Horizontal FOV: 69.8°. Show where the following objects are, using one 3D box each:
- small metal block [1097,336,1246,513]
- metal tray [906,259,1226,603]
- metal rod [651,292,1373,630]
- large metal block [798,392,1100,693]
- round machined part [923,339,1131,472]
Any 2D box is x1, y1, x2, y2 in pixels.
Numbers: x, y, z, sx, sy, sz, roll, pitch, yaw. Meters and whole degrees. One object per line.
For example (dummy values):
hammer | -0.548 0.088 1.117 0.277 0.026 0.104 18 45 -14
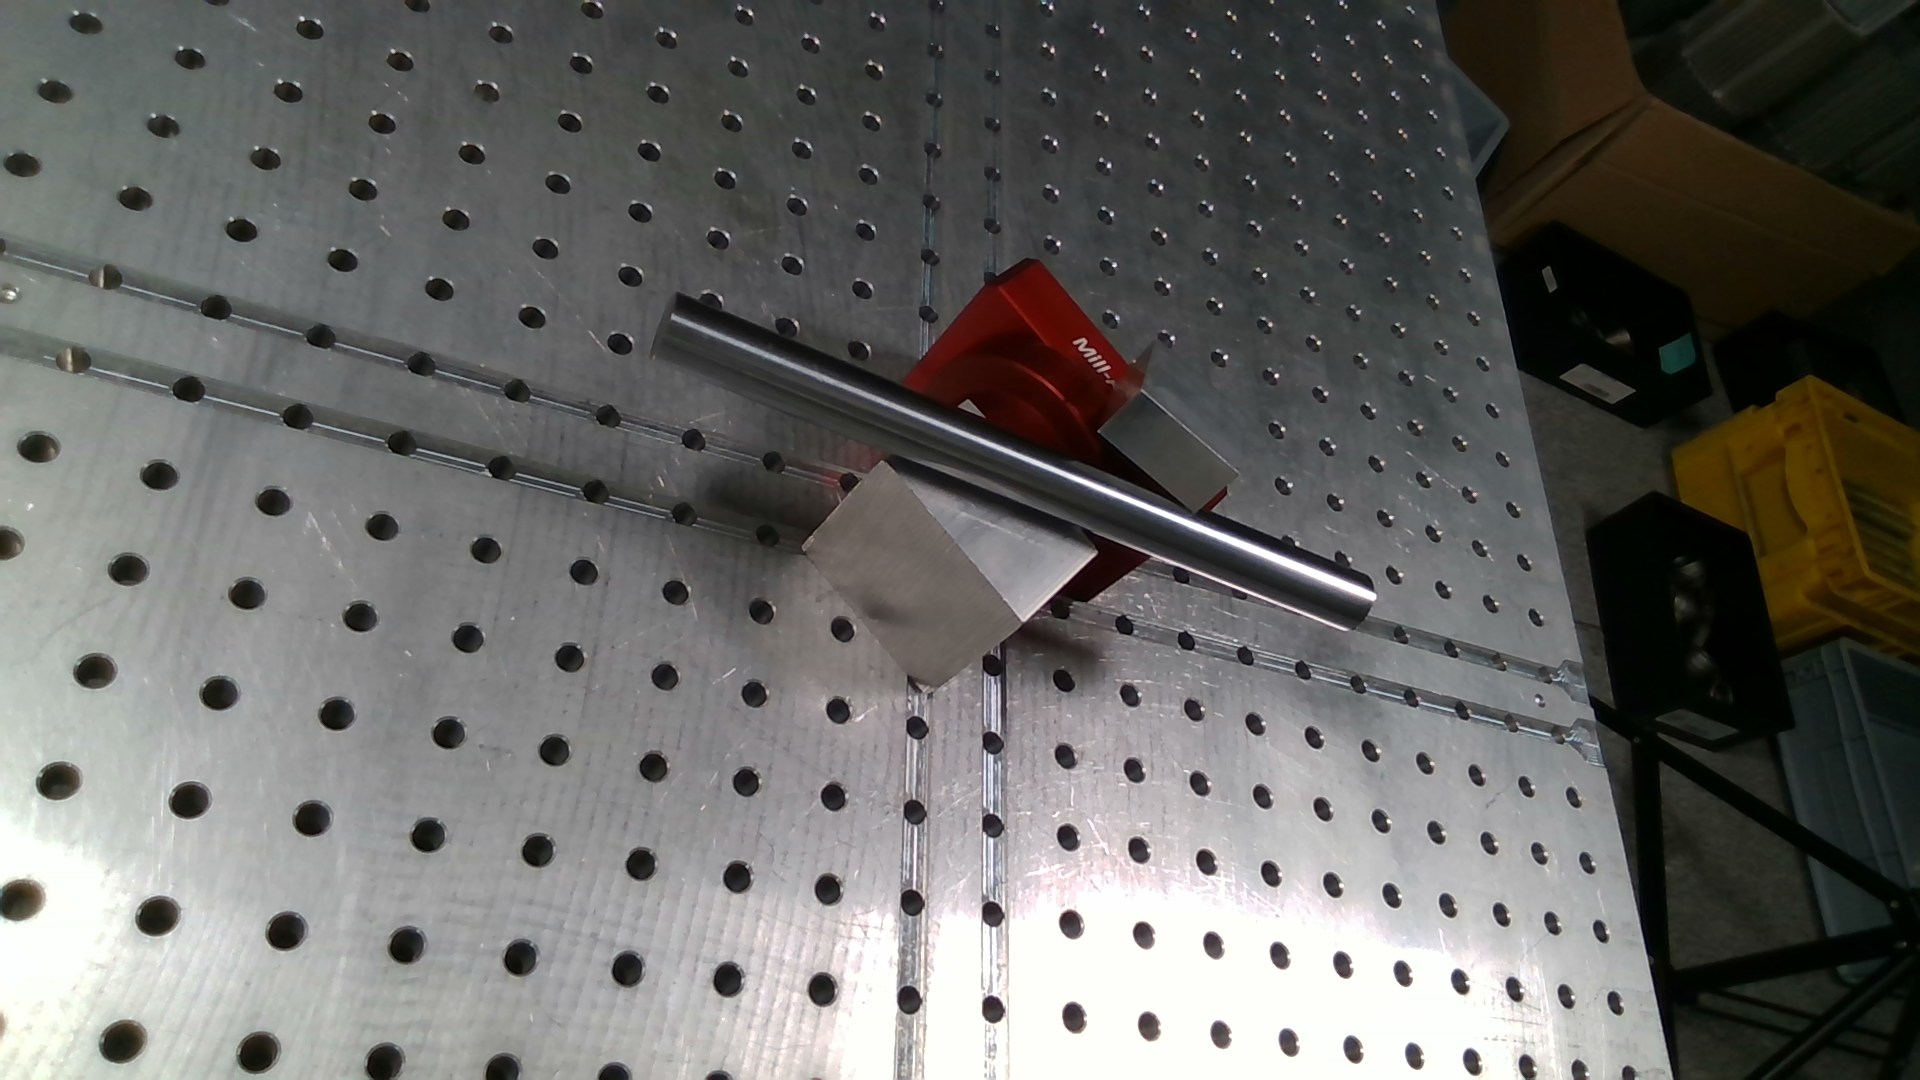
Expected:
small metal block | 0.084 -0.046 0.539 0.050 0.025 0.050 39 32 -10
metal tray | 0.042 -0.045 0.597 0.130 0.090 0.030 50 51 1
metal rod | 0.032 -0.023 0.517 0.300 0.025 0.025 20 56 -21
large metal block | -0.006 0.003 0.544 0.080 0.080 0.050 50 51 1
round machined part | 0.019 -0.031 0.575 0.098 0.098 0.042 49 51 0
